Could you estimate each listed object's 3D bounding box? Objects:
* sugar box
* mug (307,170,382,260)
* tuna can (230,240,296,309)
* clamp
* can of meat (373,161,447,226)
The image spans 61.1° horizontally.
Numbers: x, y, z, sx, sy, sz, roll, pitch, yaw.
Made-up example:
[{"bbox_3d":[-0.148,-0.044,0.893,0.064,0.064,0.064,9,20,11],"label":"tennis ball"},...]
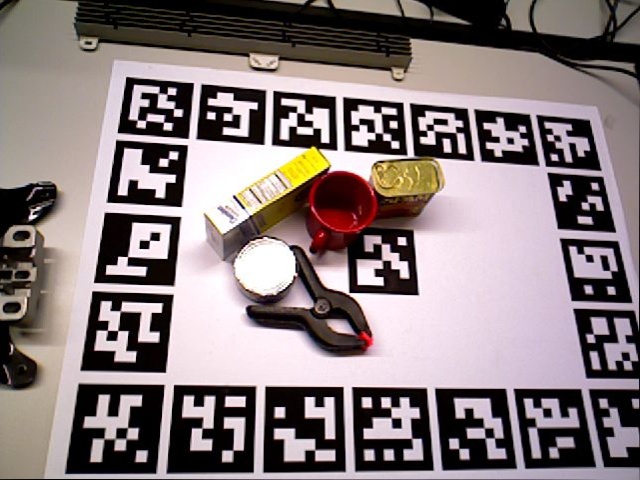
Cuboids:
[{"bbox_3d":[-0.069,-0.044,0.719,0.173,0.094,0.045,-34,76,-22],"label":"sugar box"},{"bbox_3d":[0.022,-0.025,0.725,0.093,0.083,0.115,27,68,0],"label":"mug"},{"bbox_3d":[-0.076,0.046,0.709,0.085,0.034,0.085,3,71,-9],"label":"tuna can"},{"bbox_3d":[0.000,0.104,0.706,0.165,0.037,0.119,38,63,0],"label":"clamp"},{"bbox_3d":[0.118,-0.063,0.764,0.100,0.085,0.057,-4,68,-13],"label":"can of meat"}]
